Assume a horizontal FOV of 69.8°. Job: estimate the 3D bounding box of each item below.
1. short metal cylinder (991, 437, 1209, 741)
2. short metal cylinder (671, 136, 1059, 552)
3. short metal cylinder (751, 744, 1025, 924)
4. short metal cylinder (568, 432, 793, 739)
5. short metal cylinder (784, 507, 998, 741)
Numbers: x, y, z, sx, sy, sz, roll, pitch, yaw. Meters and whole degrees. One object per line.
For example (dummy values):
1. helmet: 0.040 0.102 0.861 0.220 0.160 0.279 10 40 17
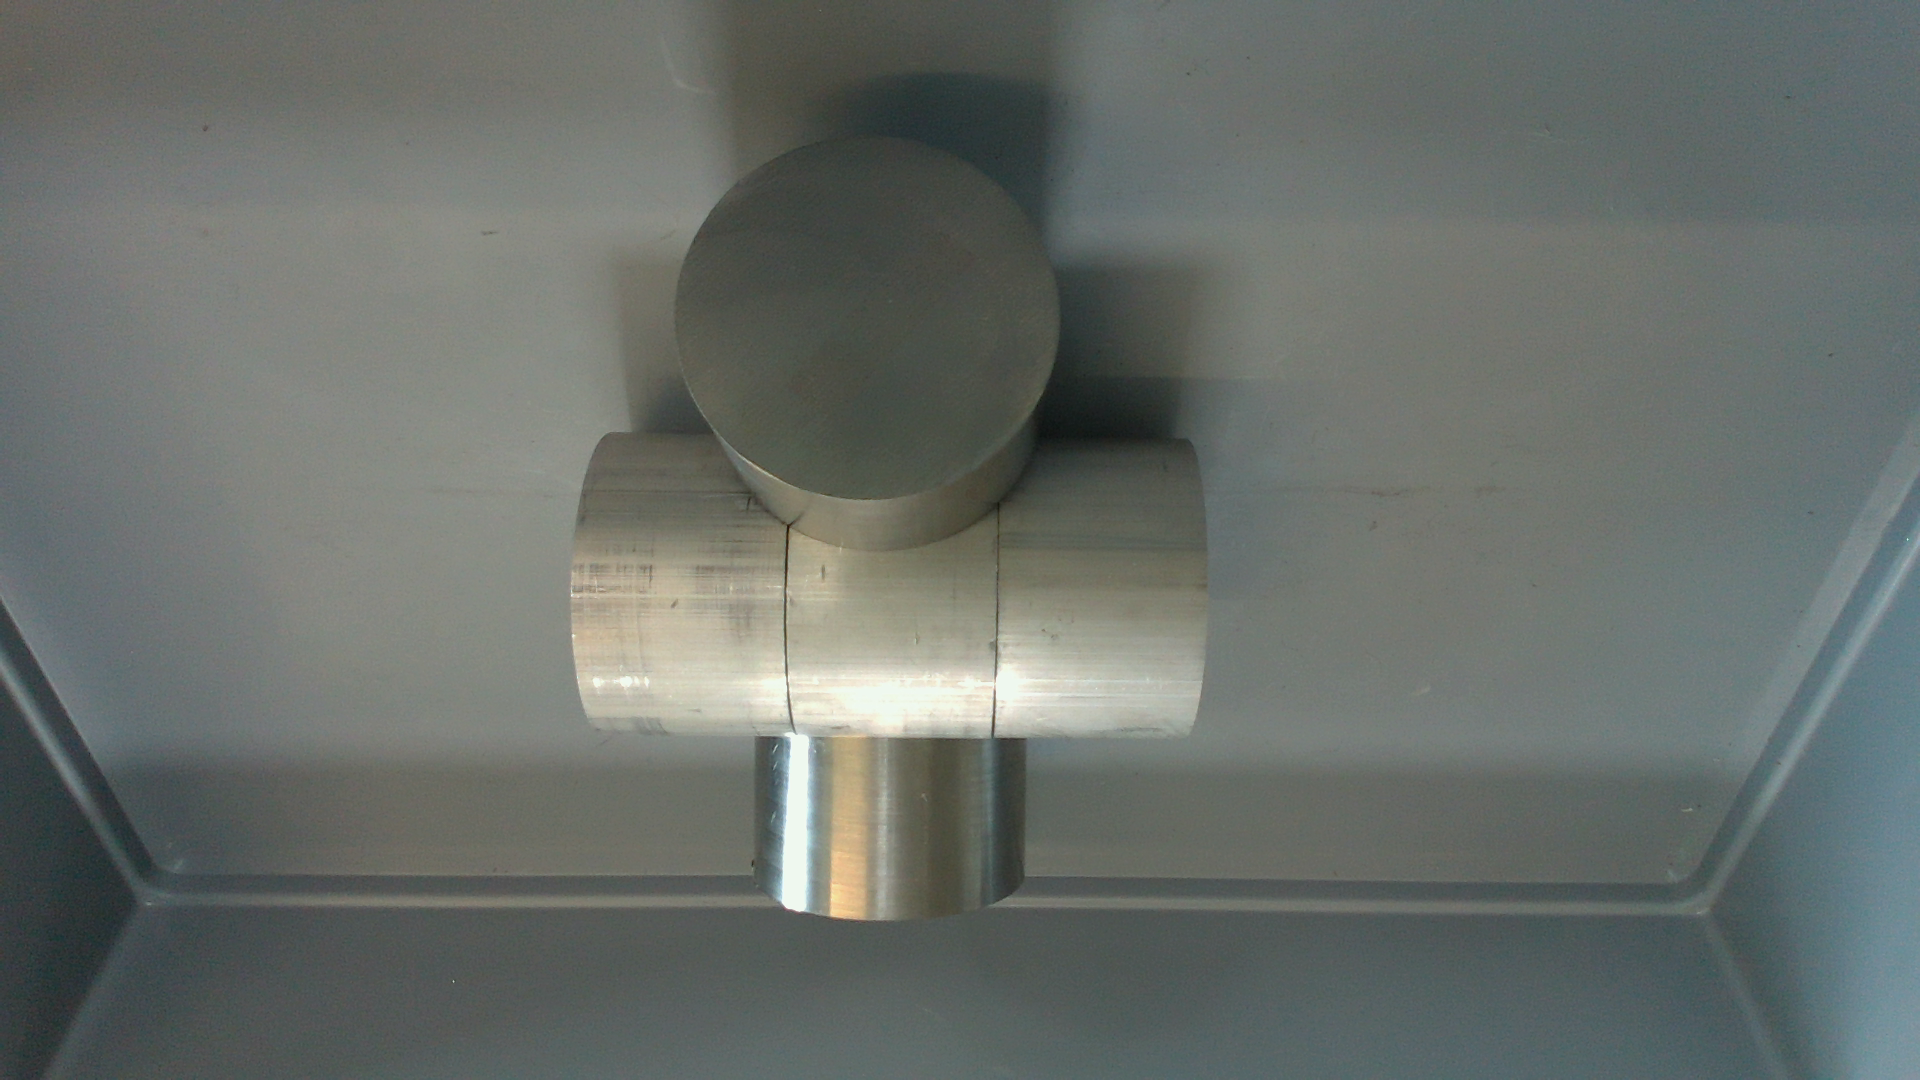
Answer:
1. short metal cylinder: 0.034 0.013 0.364 0.050 0.080 0.080 1 130 0
2. short metal cylinder: -0.020 -0.041 0.308 0.080 0.080 0.050 1 168 -1
3. short metal cylinder: -0.021 0.074 0.406 0.080 0.080 0.050 0 96 0
4. short metal cylinder: -0.067 0.012 0.363 0.050 0.080 0.080 1 130 0
5. short metal cylinder: -0.016 0.013 0.363 0.050 0.080 0.080 1 130 0
